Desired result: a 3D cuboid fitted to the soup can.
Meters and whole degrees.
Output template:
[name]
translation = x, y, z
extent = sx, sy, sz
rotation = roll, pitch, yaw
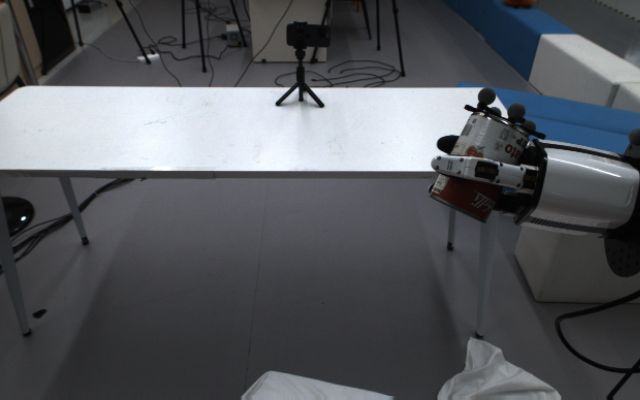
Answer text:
[soup can]
translation = 0.173, -0.035, 0.521
extent = 0.067, 0.101, 0.067
rotation = 26, 5, -3
